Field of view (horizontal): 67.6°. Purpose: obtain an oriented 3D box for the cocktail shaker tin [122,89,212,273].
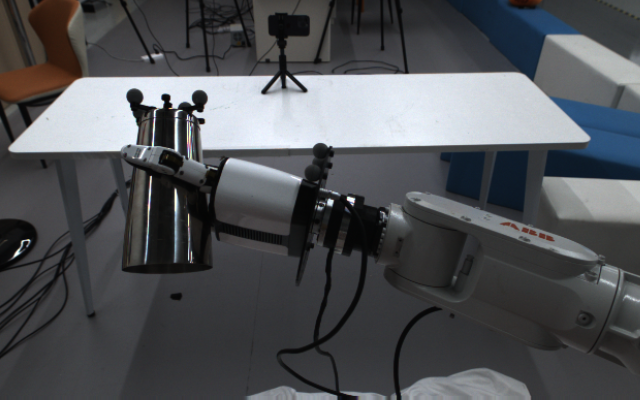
[{"bbox_3d":[-0.166,-0.008,0.531,0.093,0.093,0.170,-3,76,-7],"label":"cocktail shaker tin"}]
